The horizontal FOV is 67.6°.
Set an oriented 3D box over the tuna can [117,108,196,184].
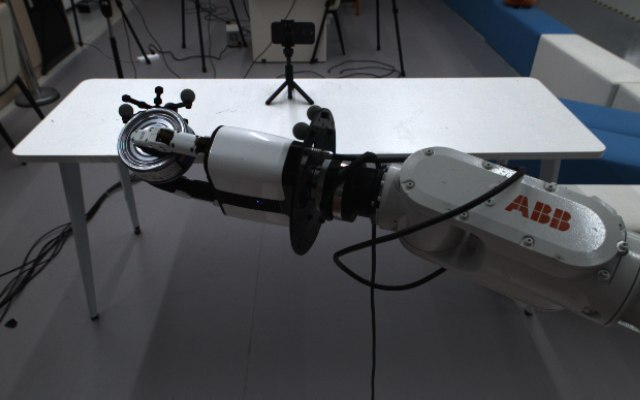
[{"bbox_3d":[-0.186,-0.058,0.563,0.085,0.034,0.085,-3,69,9],"label":"tuna can"}]
